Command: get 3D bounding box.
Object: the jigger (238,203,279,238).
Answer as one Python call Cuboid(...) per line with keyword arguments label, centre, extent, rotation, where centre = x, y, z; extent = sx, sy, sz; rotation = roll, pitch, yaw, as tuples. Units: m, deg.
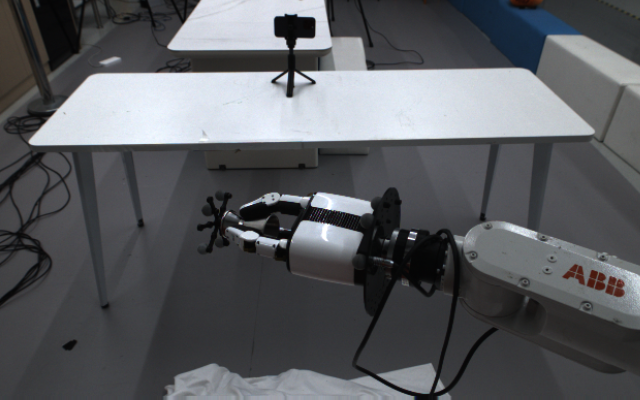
Cuboid(label="jigger", centre=(-0.089, 0.034, 0.654), extent=(0.071, 0.043, 0.043), rotation=(7, 34, 23))
